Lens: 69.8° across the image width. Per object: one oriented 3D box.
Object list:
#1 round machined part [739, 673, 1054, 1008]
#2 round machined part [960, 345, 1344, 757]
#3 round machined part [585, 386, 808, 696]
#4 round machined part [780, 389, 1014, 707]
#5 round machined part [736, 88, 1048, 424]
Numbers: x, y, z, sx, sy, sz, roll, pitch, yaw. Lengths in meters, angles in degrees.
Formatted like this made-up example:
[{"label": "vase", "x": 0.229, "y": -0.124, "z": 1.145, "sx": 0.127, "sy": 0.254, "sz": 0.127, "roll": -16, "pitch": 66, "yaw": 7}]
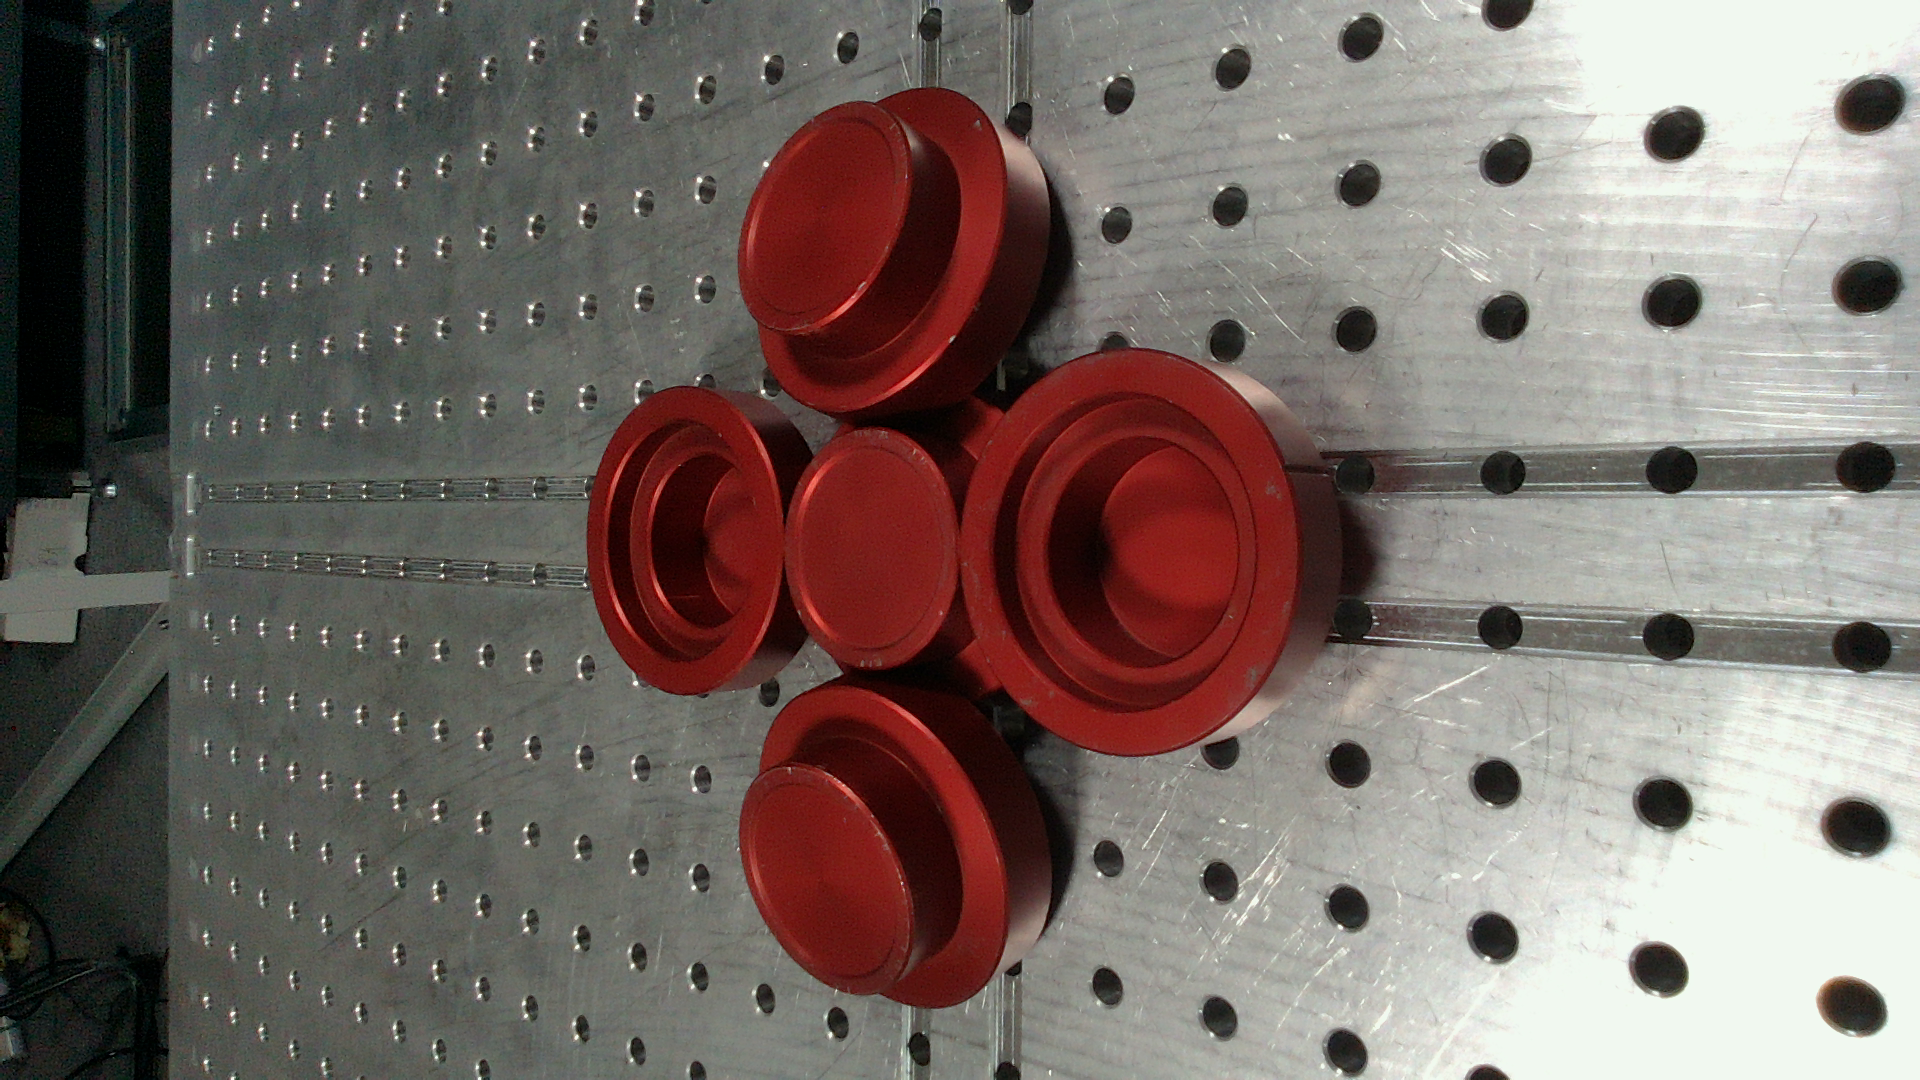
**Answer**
[{"label": "round machined part", "x": -0.025, "y": 0.089, "z": 0.393, "sx": 0.098, "sy": 0.042, "sz": 0.098, "roll": 14, "pitch": 114, "yaw": 36}, {"label": "round machined part", "x": 0.050, "y": 0.003, "z": 0.344, "sx": 0.098, "sy": 0.042, "sz": 0.098, "roll": 0, "pitch": 90, "yaw": 40}, {"label": "round machined part", "x": -0.077, "y": 0.000, "z": 0.451, "sx": 0.098, "sy": 0.042, "sz": 0.098, "roll": 0, "pitch": 90, "yaw": 40}, {"label": "round machined part", "x": -0.014, "y": 0.002, "z": 0.397, "sx": 0.098, "sy": 0.042, "sz": 0.098, "roll": 0, "pitch": 90, "yaw": 40}, {"label": "round machined part", "x": -0.026, "y": -0.084, "z": 0.393, "sx": 0.098, "sy": 0.042, "sz": 0.098, "roll": -15, "pitch": 66, "yaw": 38}]
